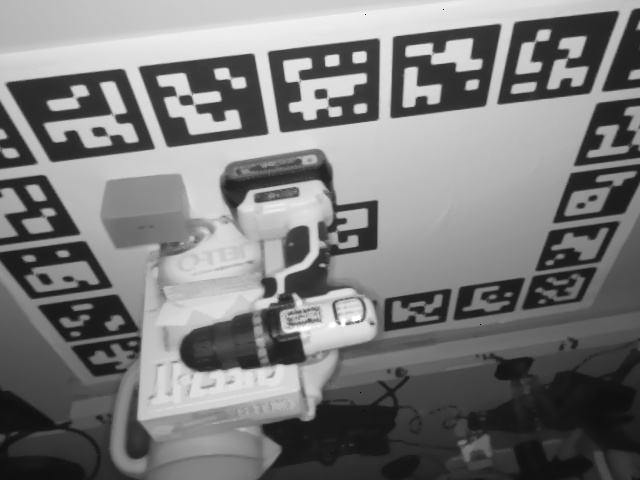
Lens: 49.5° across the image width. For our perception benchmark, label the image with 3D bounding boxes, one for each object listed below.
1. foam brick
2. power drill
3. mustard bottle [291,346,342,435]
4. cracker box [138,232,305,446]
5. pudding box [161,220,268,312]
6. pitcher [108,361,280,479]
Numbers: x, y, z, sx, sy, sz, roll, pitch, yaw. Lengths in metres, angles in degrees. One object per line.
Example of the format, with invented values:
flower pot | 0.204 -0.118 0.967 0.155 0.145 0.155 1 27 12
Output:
foam brick | -0.181 -0.032 0.736 0.078 0.051 0.052 -6 137 -5
power drill | -0.050 0.030 0.679 0.185 0.188 0.057 -8 143 -2
mustard bottle | -0.023 0.148 0.854 0.097 0.192 0.057 1 137 -13
cracker box | -0.114 0.099 0.768 0.165 0.214 0.071 -10 141 -3
pudding box | -0.116 0.026 0.767 0.114 0.090 0.038 -9 141 -6
pitcher | -0.154 0.175 0.839 0.190 0.243 0.132 -5 139 -9
